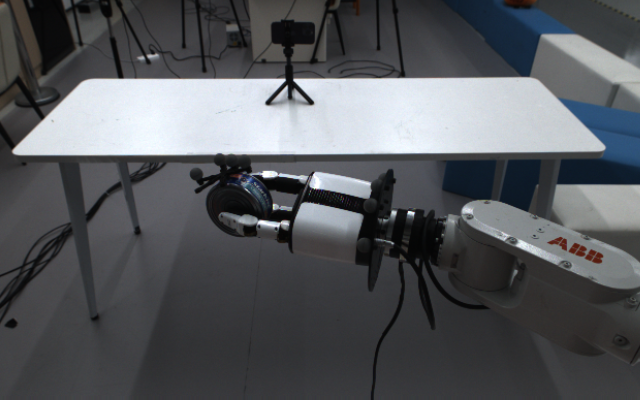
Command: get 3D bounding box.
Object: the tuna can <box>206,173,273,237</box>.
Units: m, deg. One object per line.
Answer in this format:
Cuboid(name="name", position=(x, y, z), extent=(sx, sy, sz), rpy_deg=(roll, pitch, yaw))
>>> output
Cuboid(name="tuna can", position=(-0.106, 0.014, 0.651), extent=(0.085, 0.085, 0.034), rpy_deg=(11, 34, 13))
